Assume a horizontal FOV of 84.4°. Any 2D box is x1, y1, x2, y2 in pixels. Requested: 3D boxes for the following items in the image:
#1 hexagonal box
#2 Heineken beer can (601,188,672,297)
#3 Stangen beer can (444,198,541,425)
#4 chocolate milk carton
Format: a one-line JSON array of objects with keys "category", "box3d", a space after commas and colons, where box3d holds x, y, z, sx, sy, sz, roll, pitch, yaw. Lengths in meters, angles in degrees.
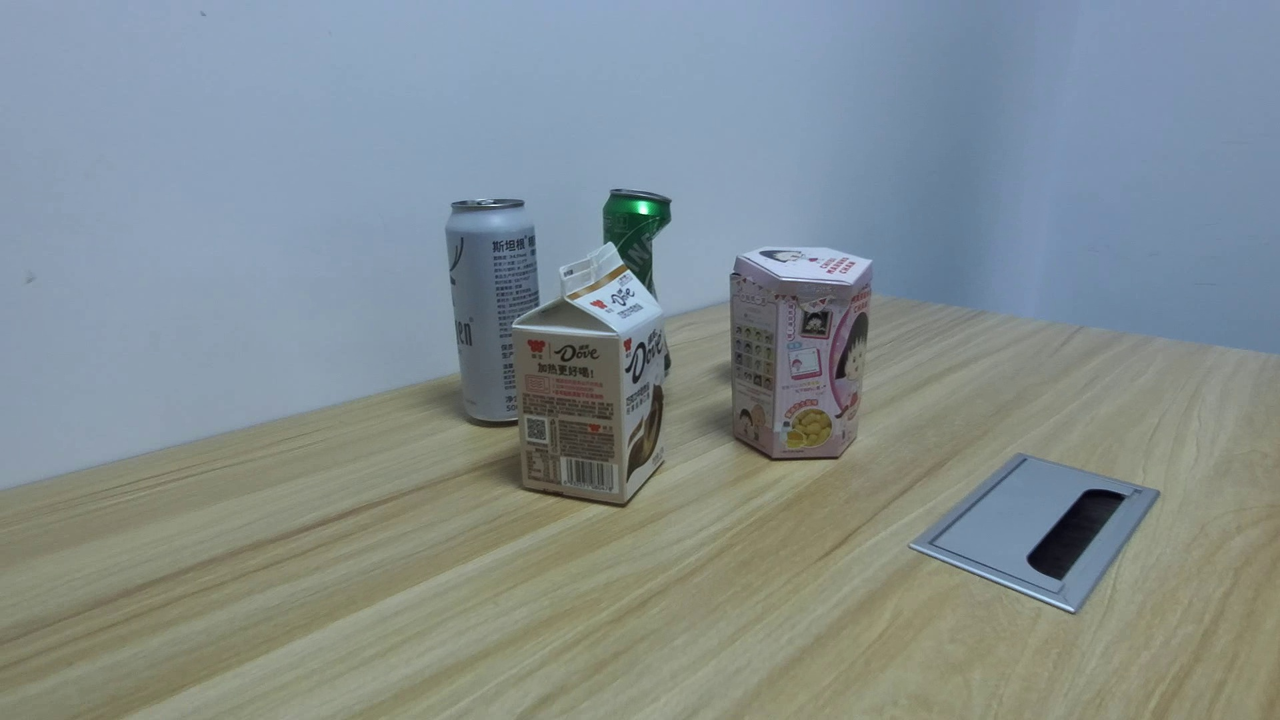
[{"category": "hexagonal box", "box3d": [0.112, -0.006, 0.497, 0.084, 0.135, 0.092, 11, 21, 31]}, {"category": "Heineken beer can", "box3d": [-0.002, -0.066, 0.639, 0.069, 0.168, 0.069, 17, 20, 41]}, {"category": "Stangen beer can", "box3d": [-0.111, -0.037, 0.555, 0.067, 0.171, 0.067, -1, 16, 1]}, {"category": "chocolate milk carton", "box3d": [-0.029, 0.004, 0.447, 0.074, 0.148, 0.075, 6, 18, 21]}]
